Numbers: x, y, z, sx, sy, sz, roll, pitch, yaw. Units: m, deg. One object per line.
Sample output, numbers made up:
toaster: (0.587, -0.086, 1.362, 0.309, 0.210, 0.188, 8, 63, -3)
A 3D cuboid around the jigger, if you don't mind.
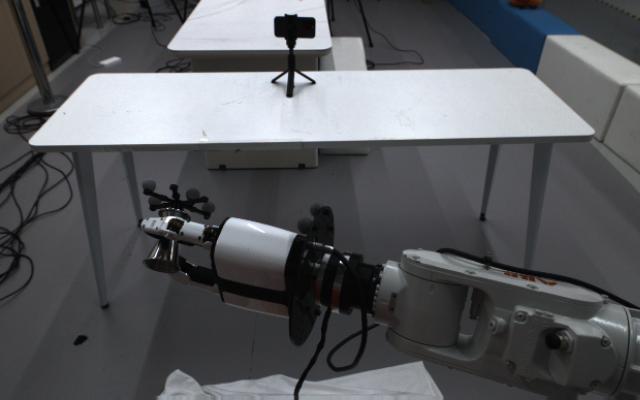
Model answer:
jigger: (-0.184, 0.047, 0.585, 0.043, 0.043, 0.071, 4, 61, 3)
